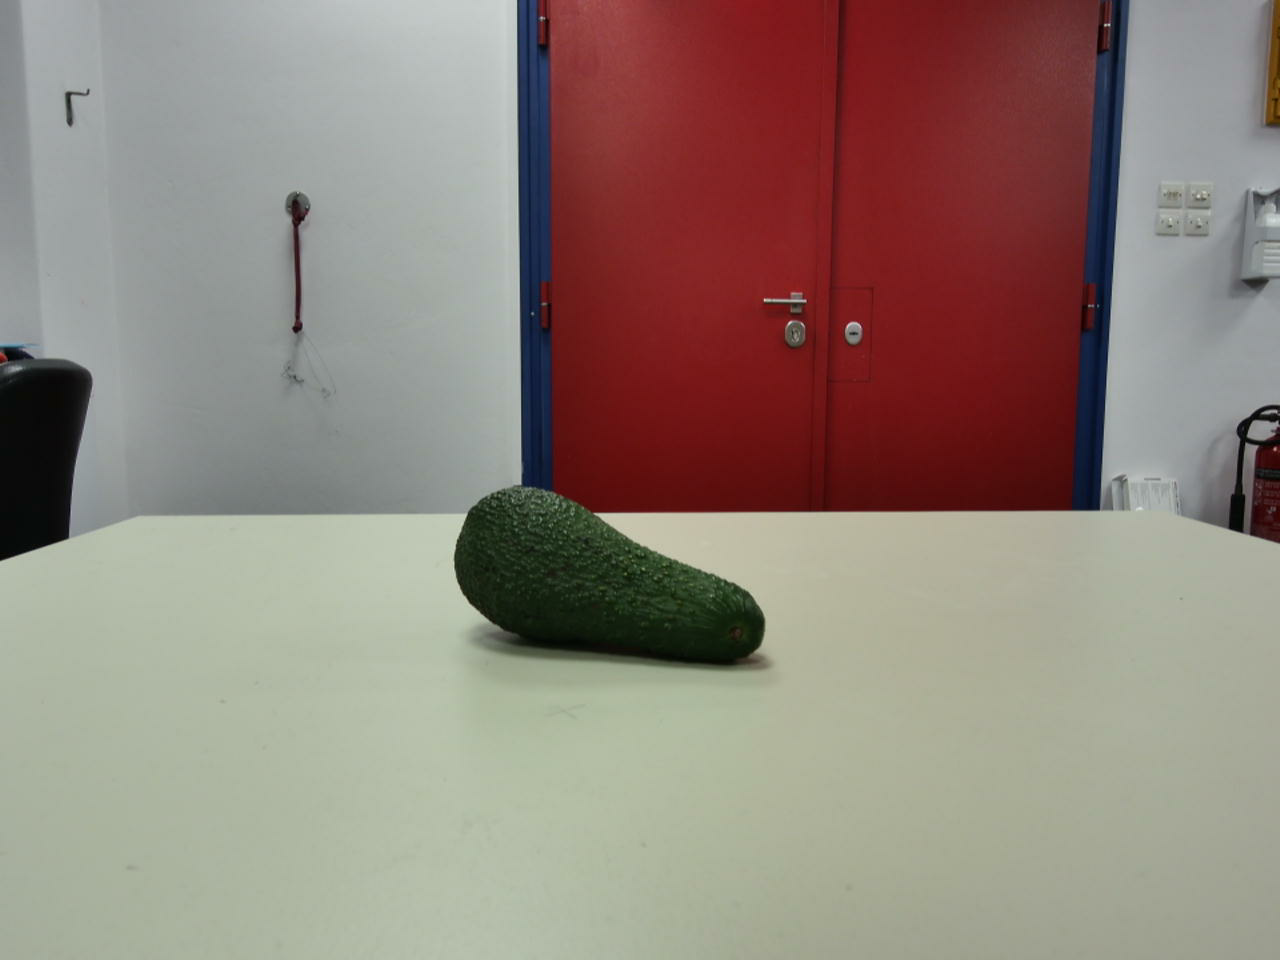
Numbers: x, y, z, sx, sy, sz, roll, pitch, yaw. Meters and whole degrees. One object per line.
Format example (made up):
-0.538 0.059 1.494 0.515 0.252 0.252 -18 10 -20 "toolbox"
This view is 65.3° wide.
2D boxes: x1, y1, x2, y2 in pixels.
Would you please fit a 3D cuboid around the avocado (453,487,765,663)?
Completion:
-0.014 0.037 0.423 0.141 0.067 0.063 1 4 15 "avocado"
